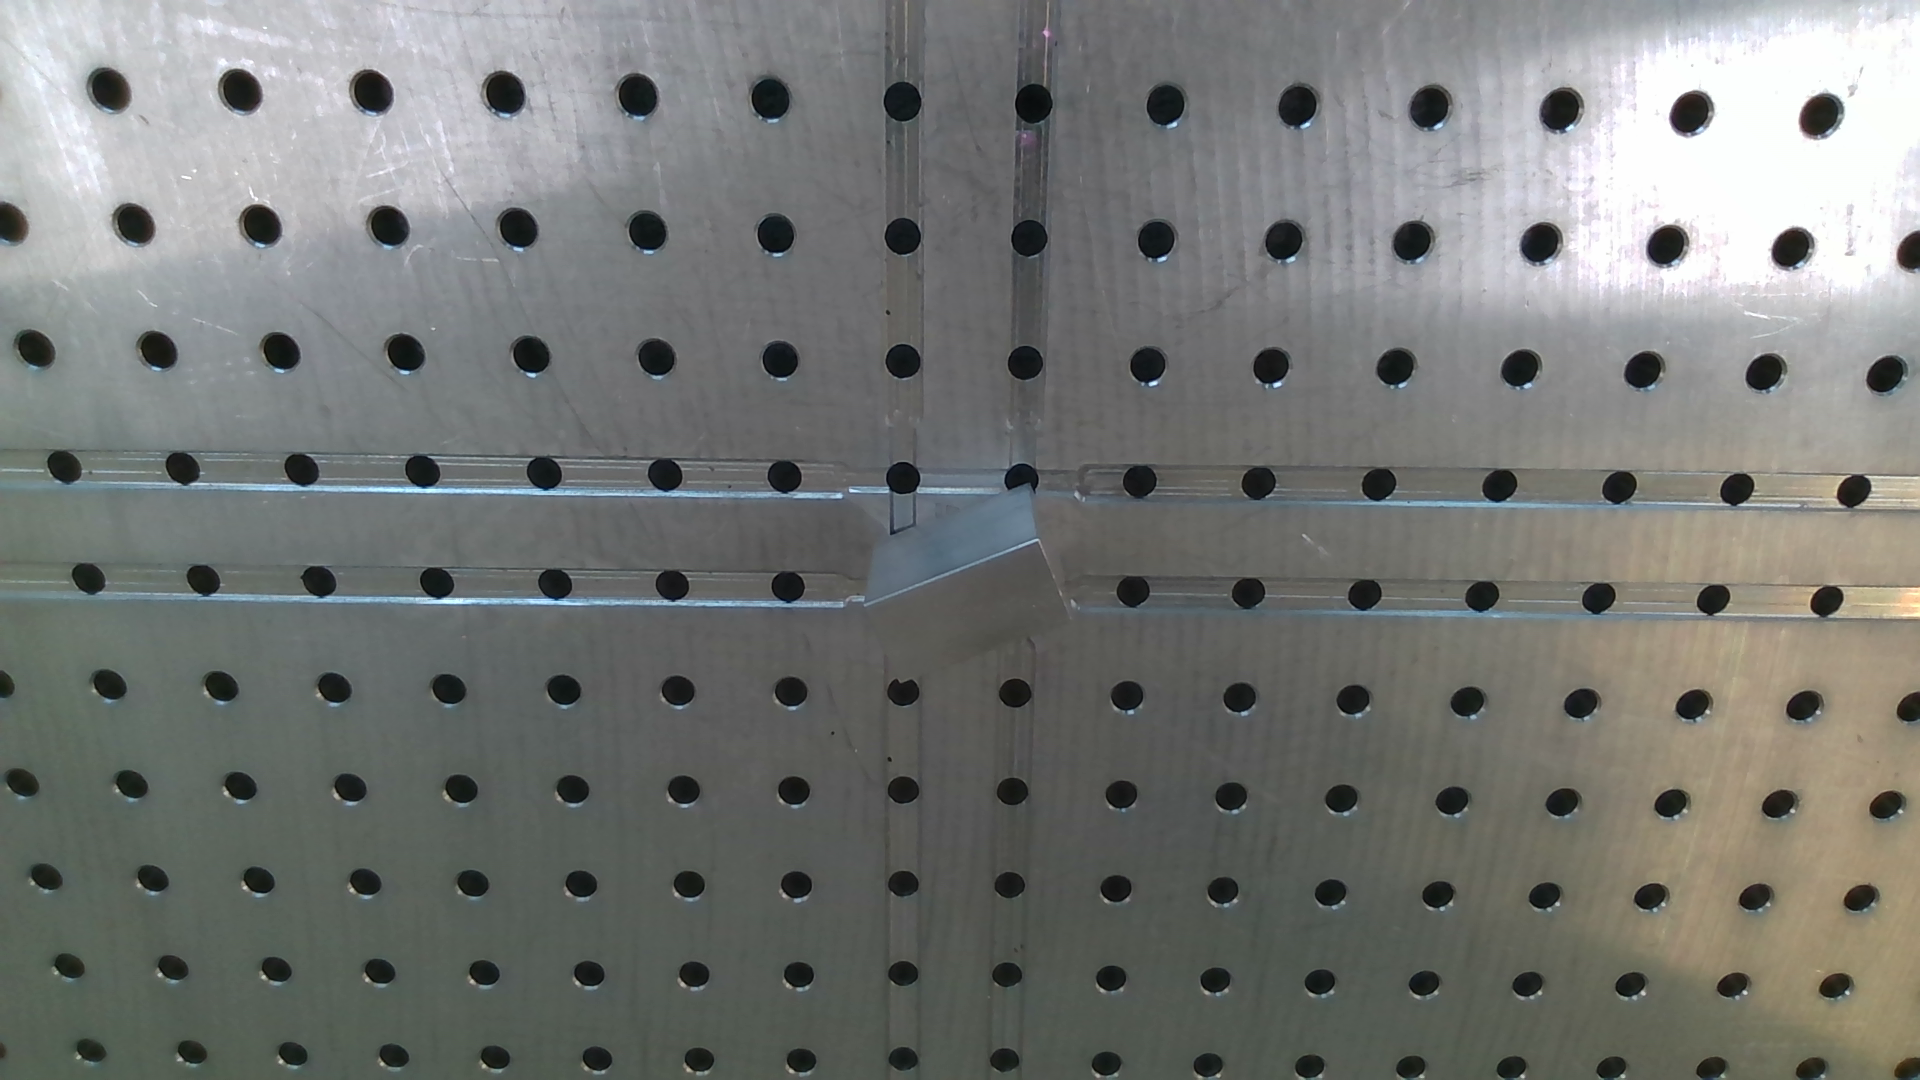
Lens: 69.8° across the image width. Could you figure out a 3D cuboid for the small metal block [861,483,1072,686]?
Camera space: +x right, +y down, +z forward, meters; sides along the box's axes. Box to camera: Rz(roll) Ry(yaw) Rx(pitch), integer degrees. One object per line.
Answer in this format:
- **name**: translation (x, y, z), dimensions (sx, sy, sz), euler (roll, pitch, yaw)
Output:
- **small metal block**: translation (0.002, 0.011, 0.386), dimensions (0.050, 0.050, 0.025), euler (-21, 109, 8)
